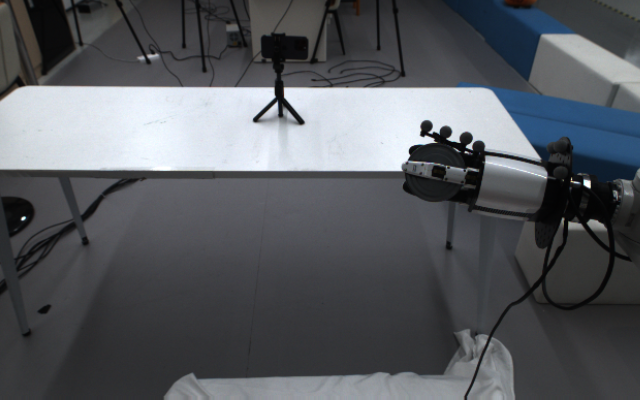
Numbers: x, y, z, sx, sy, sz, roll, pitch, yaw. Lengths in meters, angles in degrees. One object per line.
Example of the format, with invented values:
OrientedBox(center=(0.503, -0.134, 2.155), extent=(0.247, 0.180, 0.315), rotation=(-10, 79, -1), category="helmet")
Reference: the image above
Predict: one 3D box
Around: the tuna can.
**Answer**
OrientedBox(center=(0.170, -0.041, 0.710), extent=(0.085, 0.085, 0.034), rotation=(13, 2, 16), category="tuna can")
